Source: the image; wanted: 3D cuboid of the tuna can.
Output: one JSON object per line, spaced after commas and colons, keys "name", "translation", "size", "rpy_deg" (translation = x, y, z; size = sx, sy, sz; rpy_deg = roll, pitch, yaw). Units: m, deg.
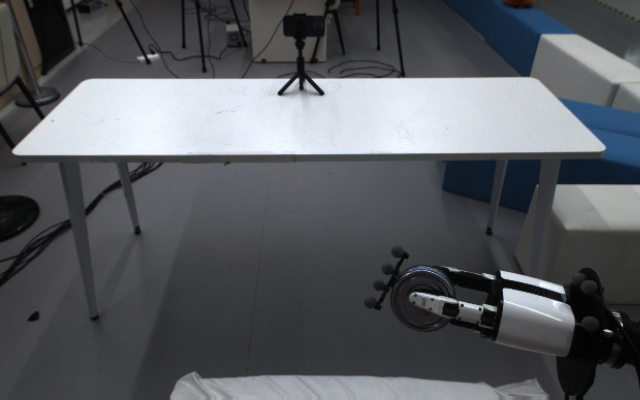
{"name": "tuna can", "translation": [0.140, 0.128, 0.646], "size": [0.085, 0.085, 0.034], "rpy_deg": [9, 4, 10]}
